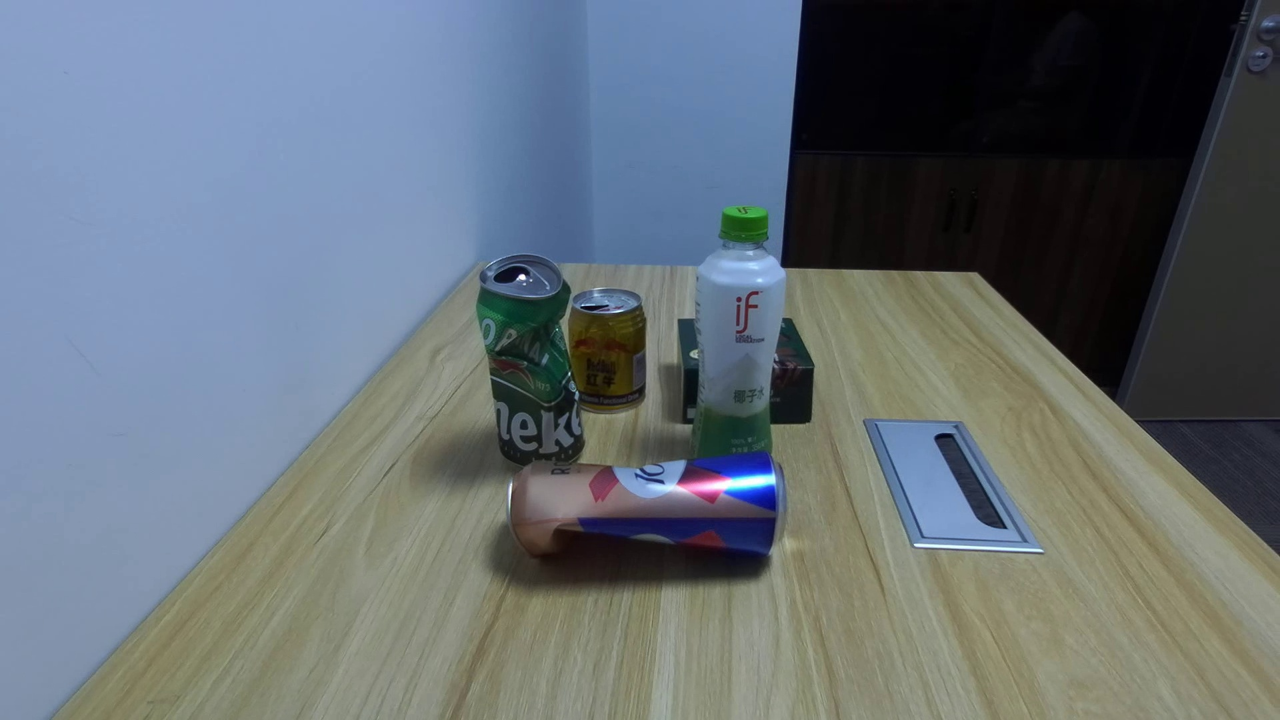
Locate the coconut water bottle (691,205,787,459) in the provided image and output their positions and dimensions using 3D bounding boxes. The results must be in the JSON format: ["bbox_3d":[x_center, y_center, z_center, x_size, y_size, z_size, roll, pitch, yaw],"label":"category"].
[{"bbox_3d":[0.069,-0.011,0.499,0.063,0.189,0.063,1,24,0],"label":"coconut water bottle"}]

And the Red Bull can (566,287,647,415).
[{"bbox_3d":[-0.028,-0.009,0.609,0.069,0.092,0.069,0,26,0],"label":"Red Bull can"}]

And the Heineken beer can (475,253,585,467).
[{"bbox_3d":[-0.078,0.005,0.511,0.067,0.159,0.078,-12,34,-16],"label":"Heineken beer can"}]

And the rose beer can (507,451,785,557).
[{"bbox_3d":[0.004,0.088,0.435,0.168,0.069,0.070,-2,45,2],"label":"rose beer can"}]

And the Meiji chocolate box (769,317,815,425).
[{"bbox_3d":[0.090,0.007,0.621,0.109,0.056,0.110,-1,23,1],"label":"Meiji chocolate box"}]
